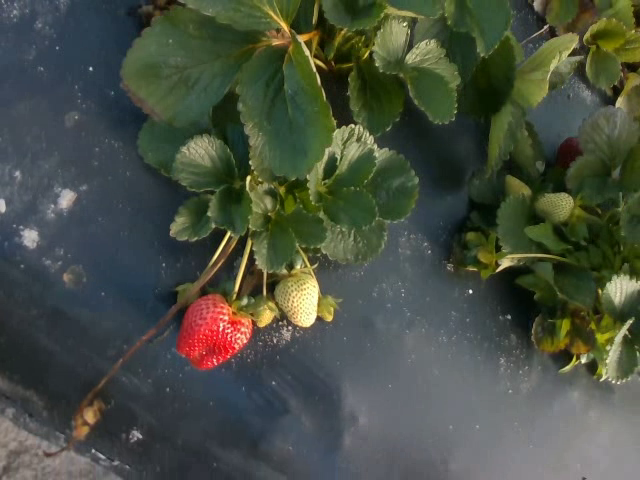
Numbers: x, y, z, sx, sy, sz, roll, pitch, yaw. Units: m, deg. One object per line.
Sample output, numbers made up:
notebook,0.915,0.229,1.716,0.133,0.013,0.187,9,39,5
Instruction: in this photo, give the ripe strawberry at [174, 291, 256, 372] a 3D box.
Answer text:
ripe strawberry,-0.069,0.064,0.396,0.047,0.050,0.034,40,-1,-11
